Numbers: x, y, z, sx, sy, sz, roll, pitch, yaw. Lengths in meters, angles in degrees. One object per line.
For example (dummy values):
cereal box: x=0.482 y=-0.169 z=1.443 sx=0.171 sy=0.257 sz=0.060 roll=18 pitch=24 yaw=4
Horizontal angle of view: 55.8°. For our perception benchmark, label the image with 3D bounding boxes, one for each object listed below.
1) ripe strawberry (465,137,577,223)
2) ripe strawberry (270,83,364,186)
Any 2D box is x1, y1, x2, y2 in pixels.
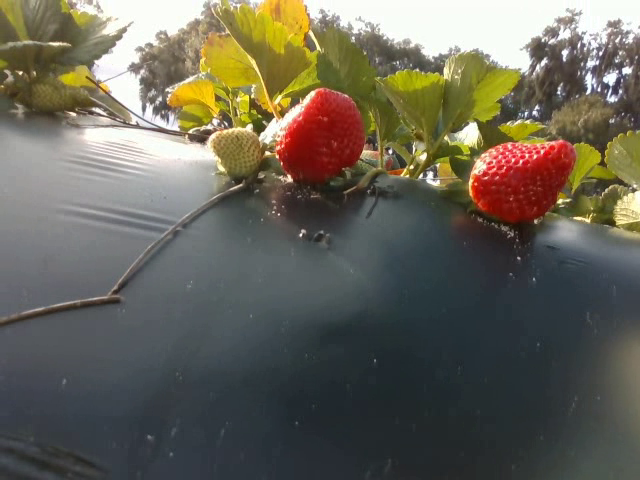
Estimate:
ripe strawberry: x=0.068 y=-0.025 z=0.193 sx=0.033 sy=0.038 sz=0.039 roll=32 pitch=-27 yaw=3
ripe strawberry: x=0.001 y=-0.041 z=0.203 sx=0.035 sy=0.041 sz=0.036 roll=-1 pitch=-19 yaw=5
